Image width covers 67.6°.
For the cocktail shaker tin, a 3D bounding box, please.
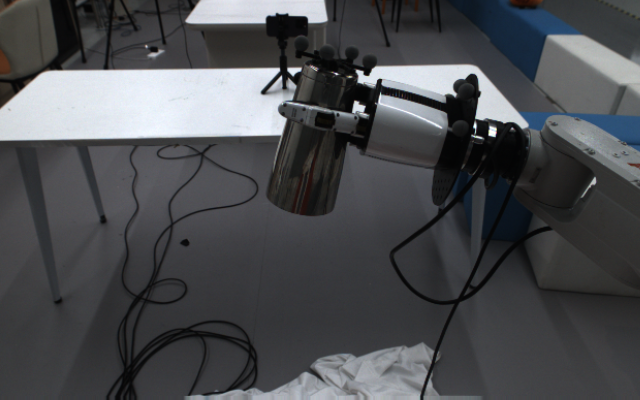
[{"bbox_3d":[-0.003,-0.079,0.594,0.093,0.170,0.093,12,25,-6],"label":"cocktail shaker tin"}]
